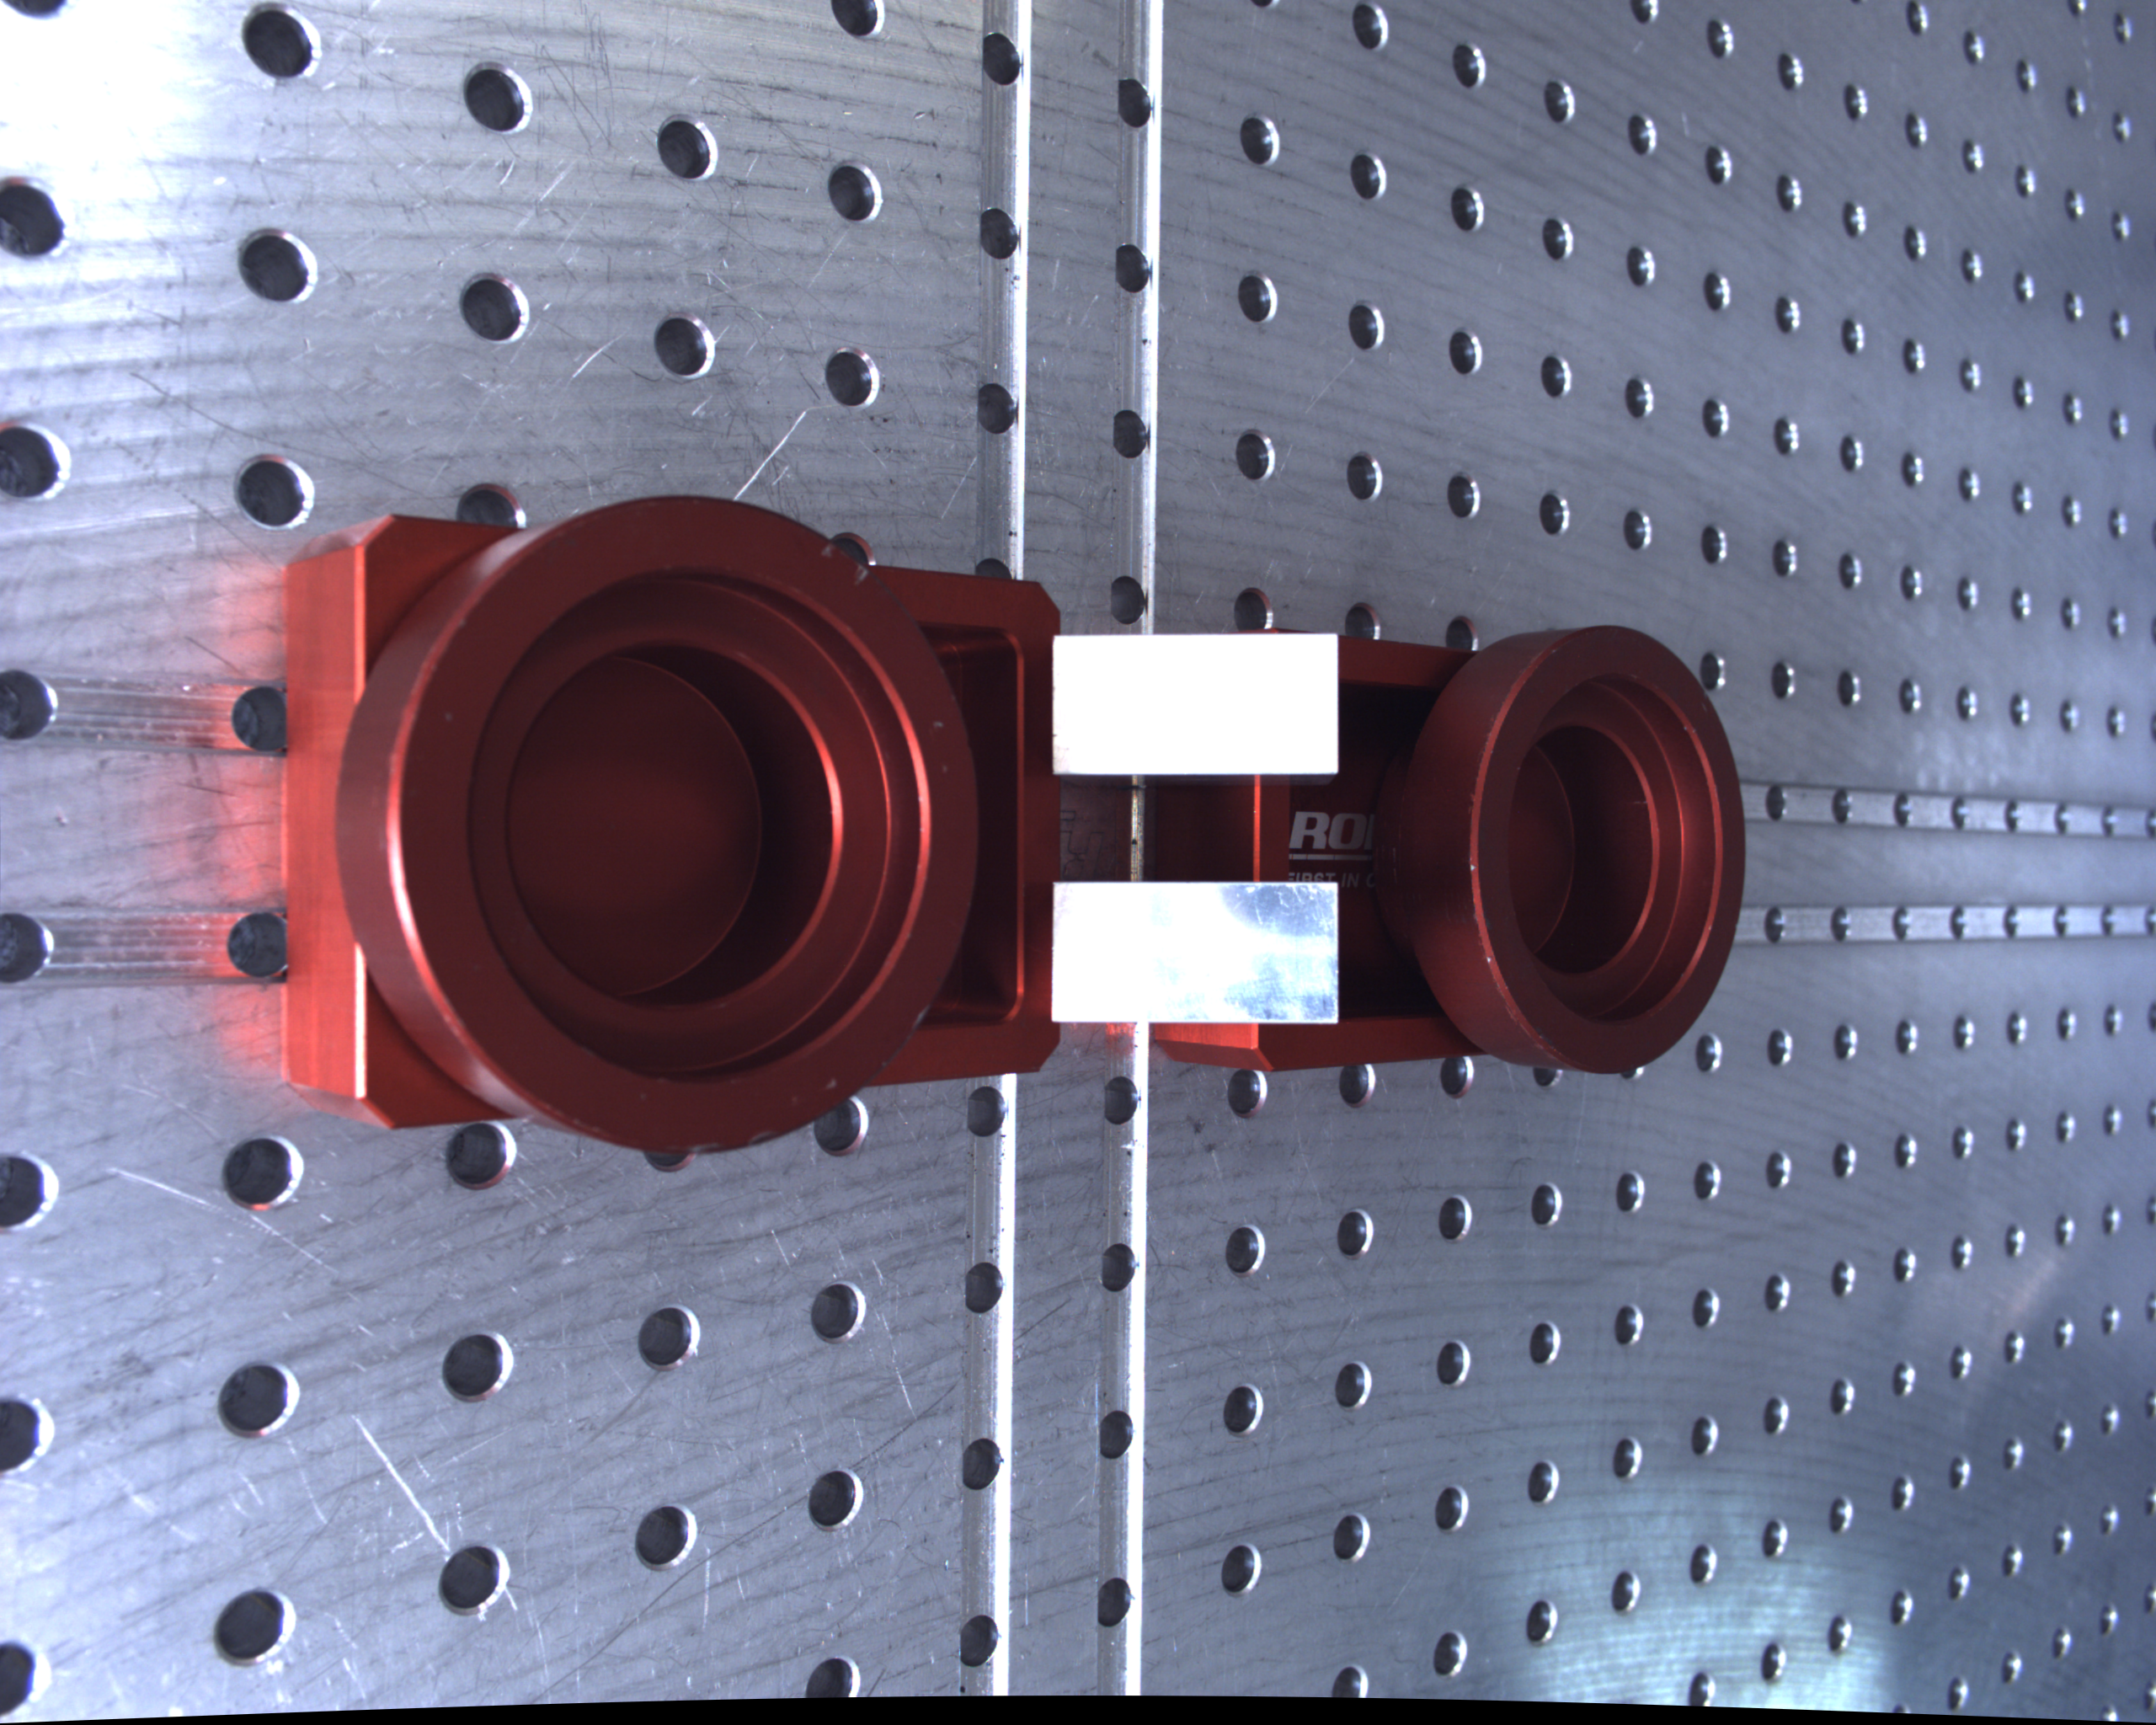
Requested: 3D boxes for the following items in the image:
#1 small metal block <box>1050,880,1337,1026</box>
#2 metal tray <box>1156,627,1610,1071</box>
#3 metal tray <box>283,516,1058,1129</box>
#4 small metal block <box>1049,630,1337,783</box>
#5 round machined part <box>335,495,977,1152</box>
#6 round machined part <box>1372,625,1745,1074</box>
[{"bbox_3d":[0.022,0.016,0.392,0.050,0.050,0.025,1,90,4],"label":"small metal block"},{"bbox_3d":[0.076,-0.002,0.470,0.131,0.030,0.089,1,90,-40],"label":"metal tray"},{"bbox_3d":[-0.064,-0.007,0.354,0.131,0.030,0.089,-1,93,-40],"label":"metal tray"},{"bbox_3d":[0.022,-0.028,0.393,0.050,0.050,0.025,1,90,4],"label":"small metal block"},{"bbox_3d":[-0.067,-0.006,0.325,0.099,0.042,0.097,0,90,-40],"label":"round machined part"},{"bbox_3d":[0.104,-0.003,0.469,0.099,0.042,0.097,0,90,-40],"label":"round machined part"}]
